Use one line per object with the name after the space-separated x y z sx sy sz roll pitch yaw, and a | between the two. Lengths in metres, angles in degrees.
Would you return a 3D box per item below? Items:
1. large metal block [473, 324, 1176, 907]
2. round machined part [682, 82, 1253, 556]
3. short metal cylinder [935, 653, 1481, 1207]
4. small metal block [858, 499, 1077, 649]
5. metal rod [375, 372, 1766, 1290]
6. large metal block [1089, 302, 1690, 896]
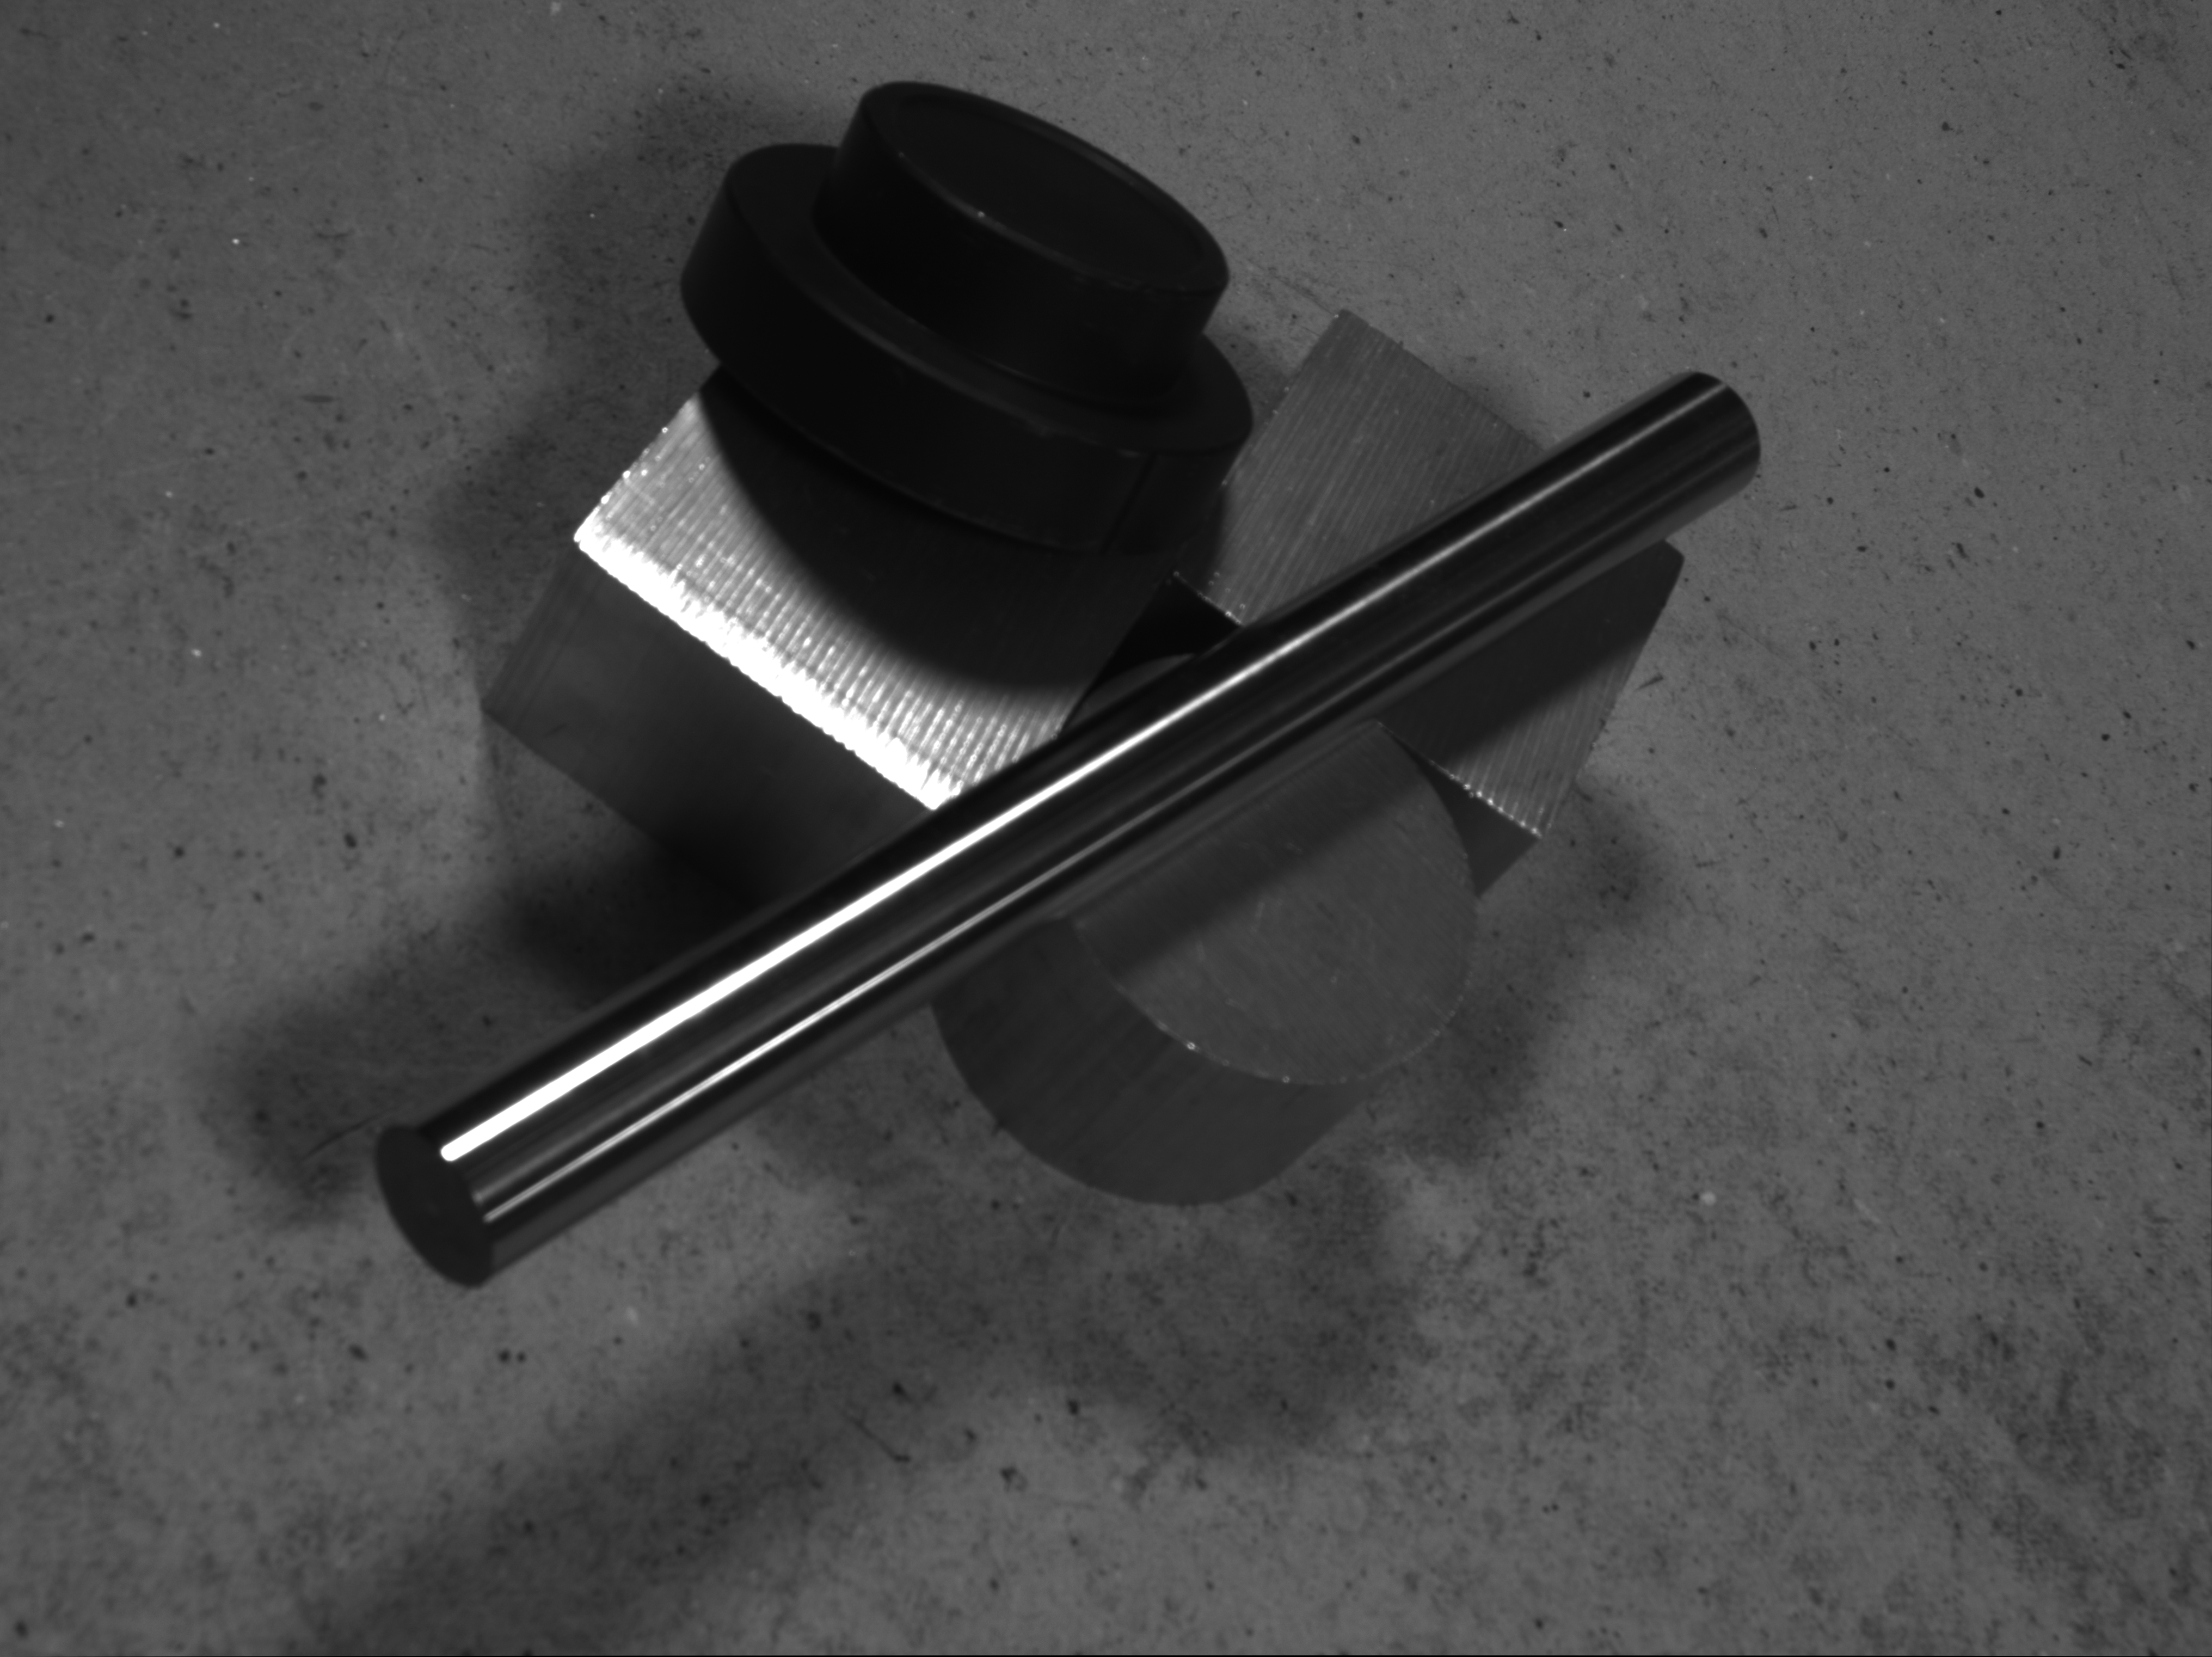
-0.046 -0.035 0.619 0.080 0.050 0.080 36 51 -4 | large metal block
-0.018 -0.090 0.618 0.098 0.042 0.098 23 25 -12 | round machined part
0.016 0.017 0.621 0.080 0.050 0.080 14 56 -21 | short metal cylinder
-0.012 -0.064 0.672 0.050 0.025 0.050 37 51 -4 | small metal block
0.010 -0.011 0.588 0.301 0.025 0.025 -32 79 -38 | metal rod
0.049 -0.035 0.672 0.080 0.050 0.080 36 51 -4 | large metal block
